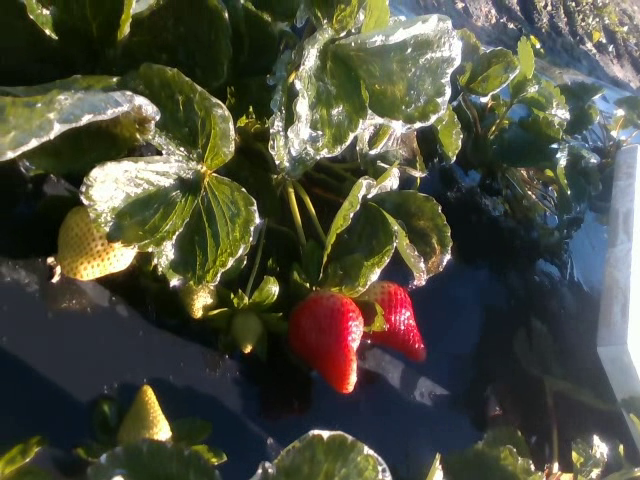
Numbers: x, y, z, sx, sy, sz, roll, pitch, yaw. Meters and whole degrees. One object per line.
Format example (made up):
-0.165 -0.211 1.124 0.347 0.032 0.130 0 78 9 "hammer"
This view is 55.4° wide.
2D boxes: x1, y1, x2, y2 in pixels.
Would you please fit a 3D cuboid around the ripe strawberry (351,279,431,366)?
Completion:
0.052 0.051 0.388 0.040 0.059 0.044 -18 24 41 "ripe strawberry"

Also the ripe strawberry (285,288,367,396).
0.013 0.061 0.352 0.040 0.070 0.052 -18 -21 30 "ripe strawberry"
